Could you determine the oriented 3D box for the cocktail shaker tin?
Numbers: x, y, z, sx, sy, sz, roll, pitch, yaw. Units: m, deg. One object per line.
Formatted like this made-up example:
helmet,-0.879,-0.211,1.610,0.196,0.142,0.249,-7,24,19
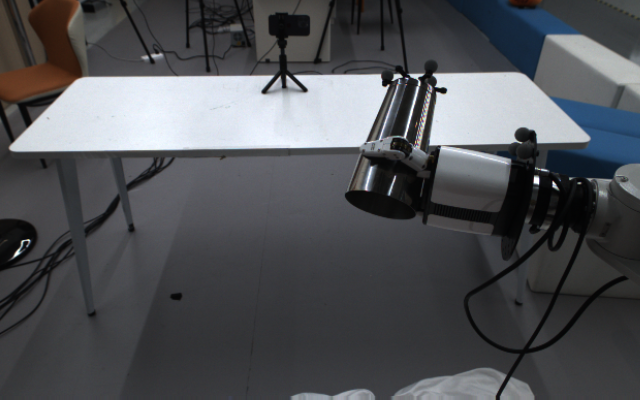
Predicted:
cocktail shaker tin,0.099,-0.070,0.630,0.093,0.093,0.170,14,72,16
